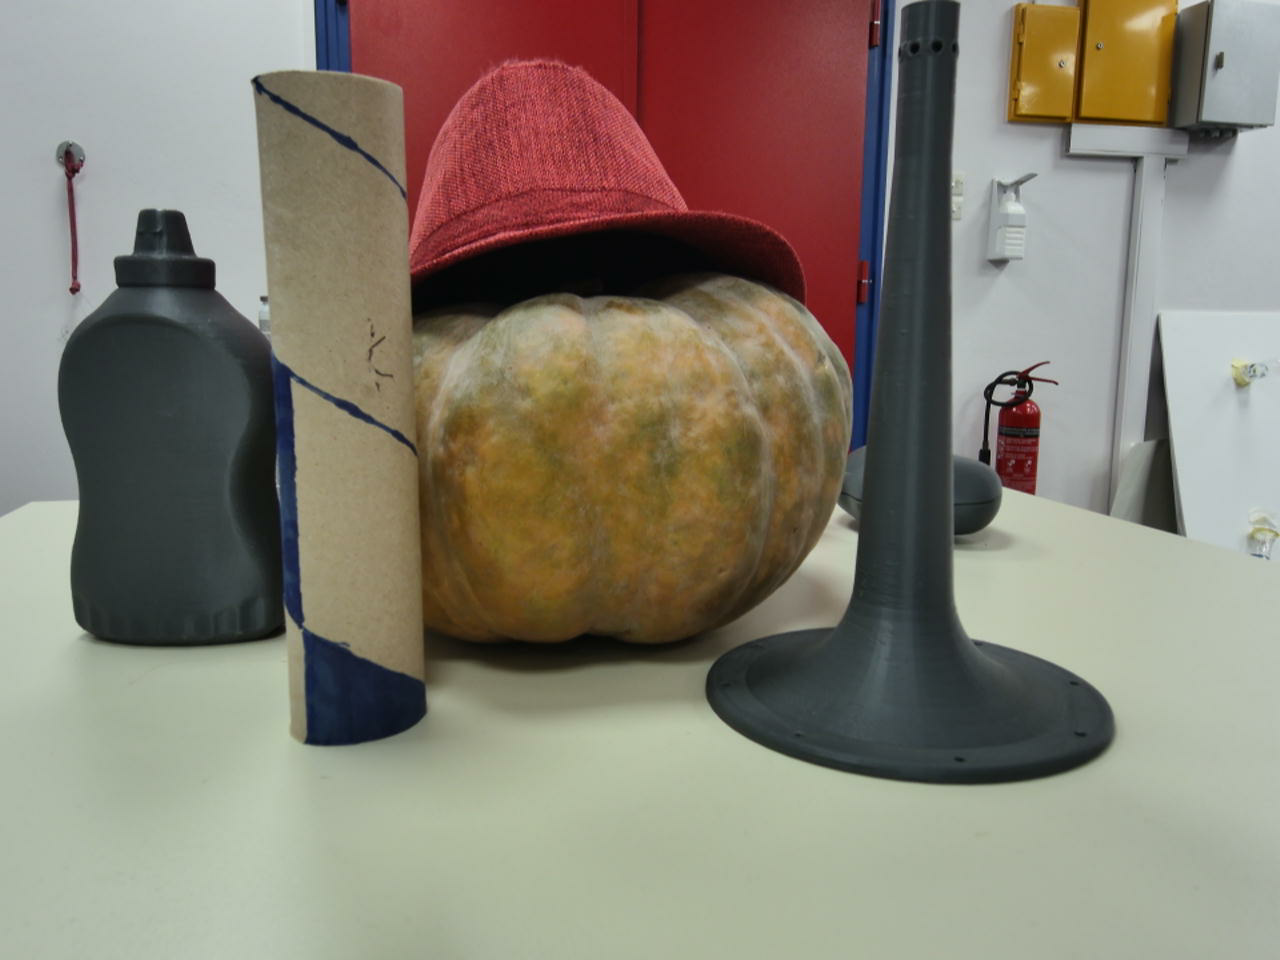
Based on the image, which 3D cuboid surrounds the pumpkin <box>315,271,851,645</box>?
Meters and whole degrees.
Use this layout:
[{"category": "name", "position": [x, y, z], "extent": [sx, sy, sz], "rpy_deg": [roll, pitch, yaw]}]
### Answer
[{"category": "pumpkin", "position": [-0.028, -0.014, 0.479], "extent": [0.252, 0.168, 0.252], "rpy_deg": [0, 7, 0]}]
